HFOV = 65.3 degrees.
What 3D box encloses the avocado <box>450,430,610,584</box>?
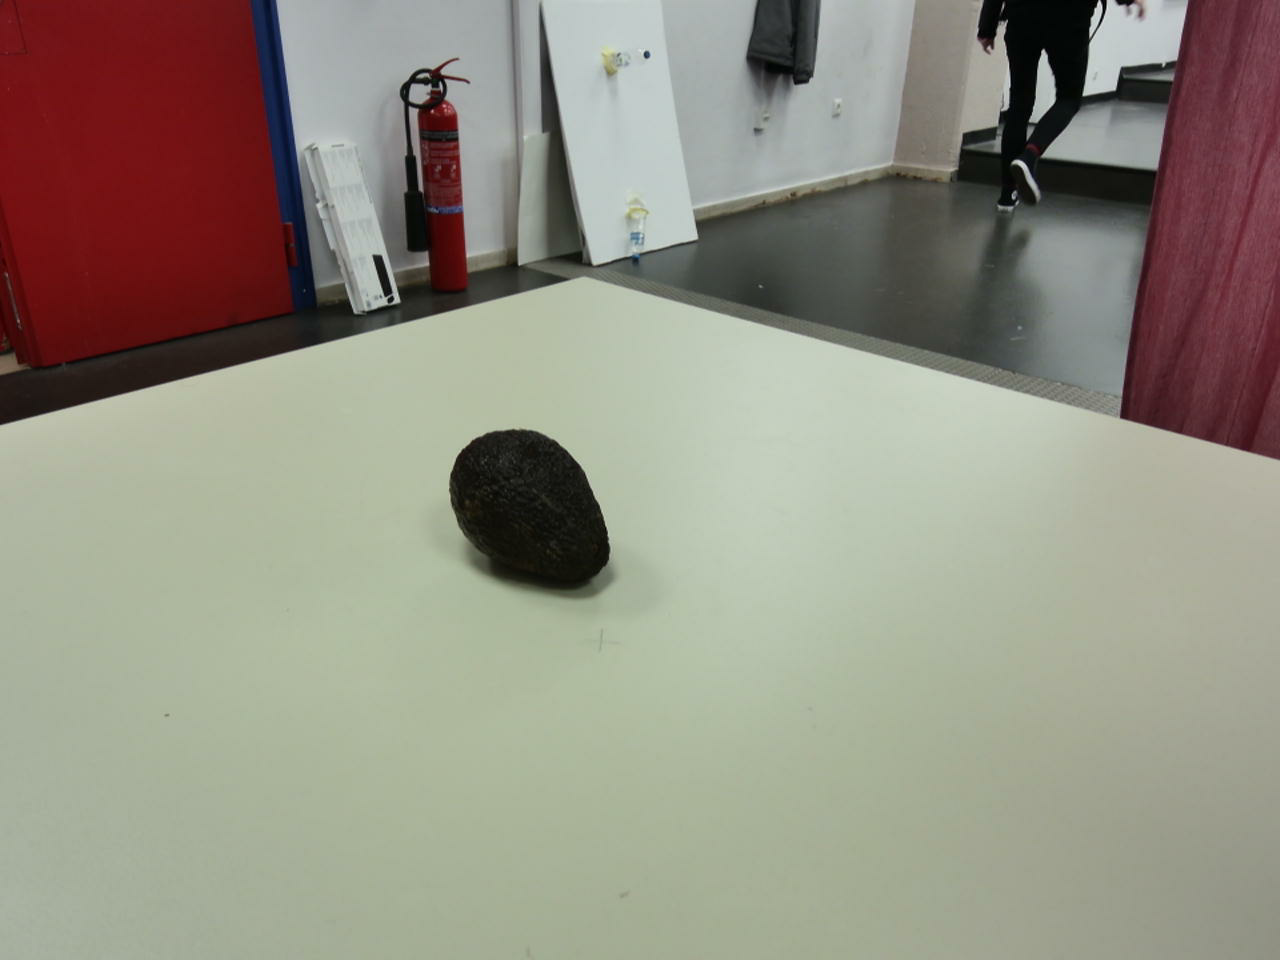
[{"bbox_3d":[-0.059,0.011,0.509,0.070,0.069,0.090,-10,26,-22],"label":"avocado"}]
